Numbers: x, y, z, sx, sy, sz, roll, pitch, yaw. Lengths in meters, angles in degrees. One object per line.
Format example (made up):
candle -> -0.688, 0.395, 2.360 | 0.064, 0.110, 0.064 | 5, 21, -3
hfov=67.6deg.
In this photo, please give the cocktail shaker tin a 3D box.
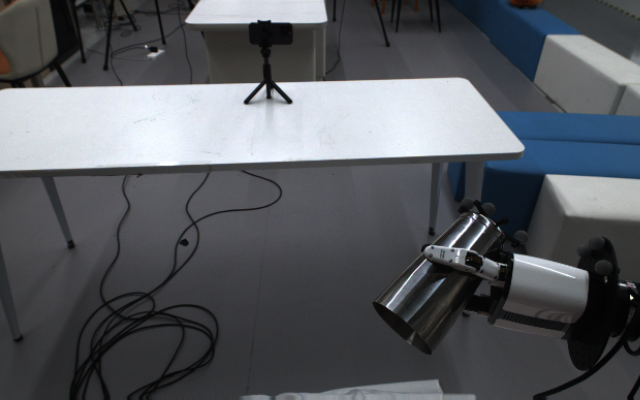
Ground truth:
cocktail shaker tin -> 0.156, 0.091, 0.605 | 0.170, 0.093, 0.093 | -43, 50, -15
